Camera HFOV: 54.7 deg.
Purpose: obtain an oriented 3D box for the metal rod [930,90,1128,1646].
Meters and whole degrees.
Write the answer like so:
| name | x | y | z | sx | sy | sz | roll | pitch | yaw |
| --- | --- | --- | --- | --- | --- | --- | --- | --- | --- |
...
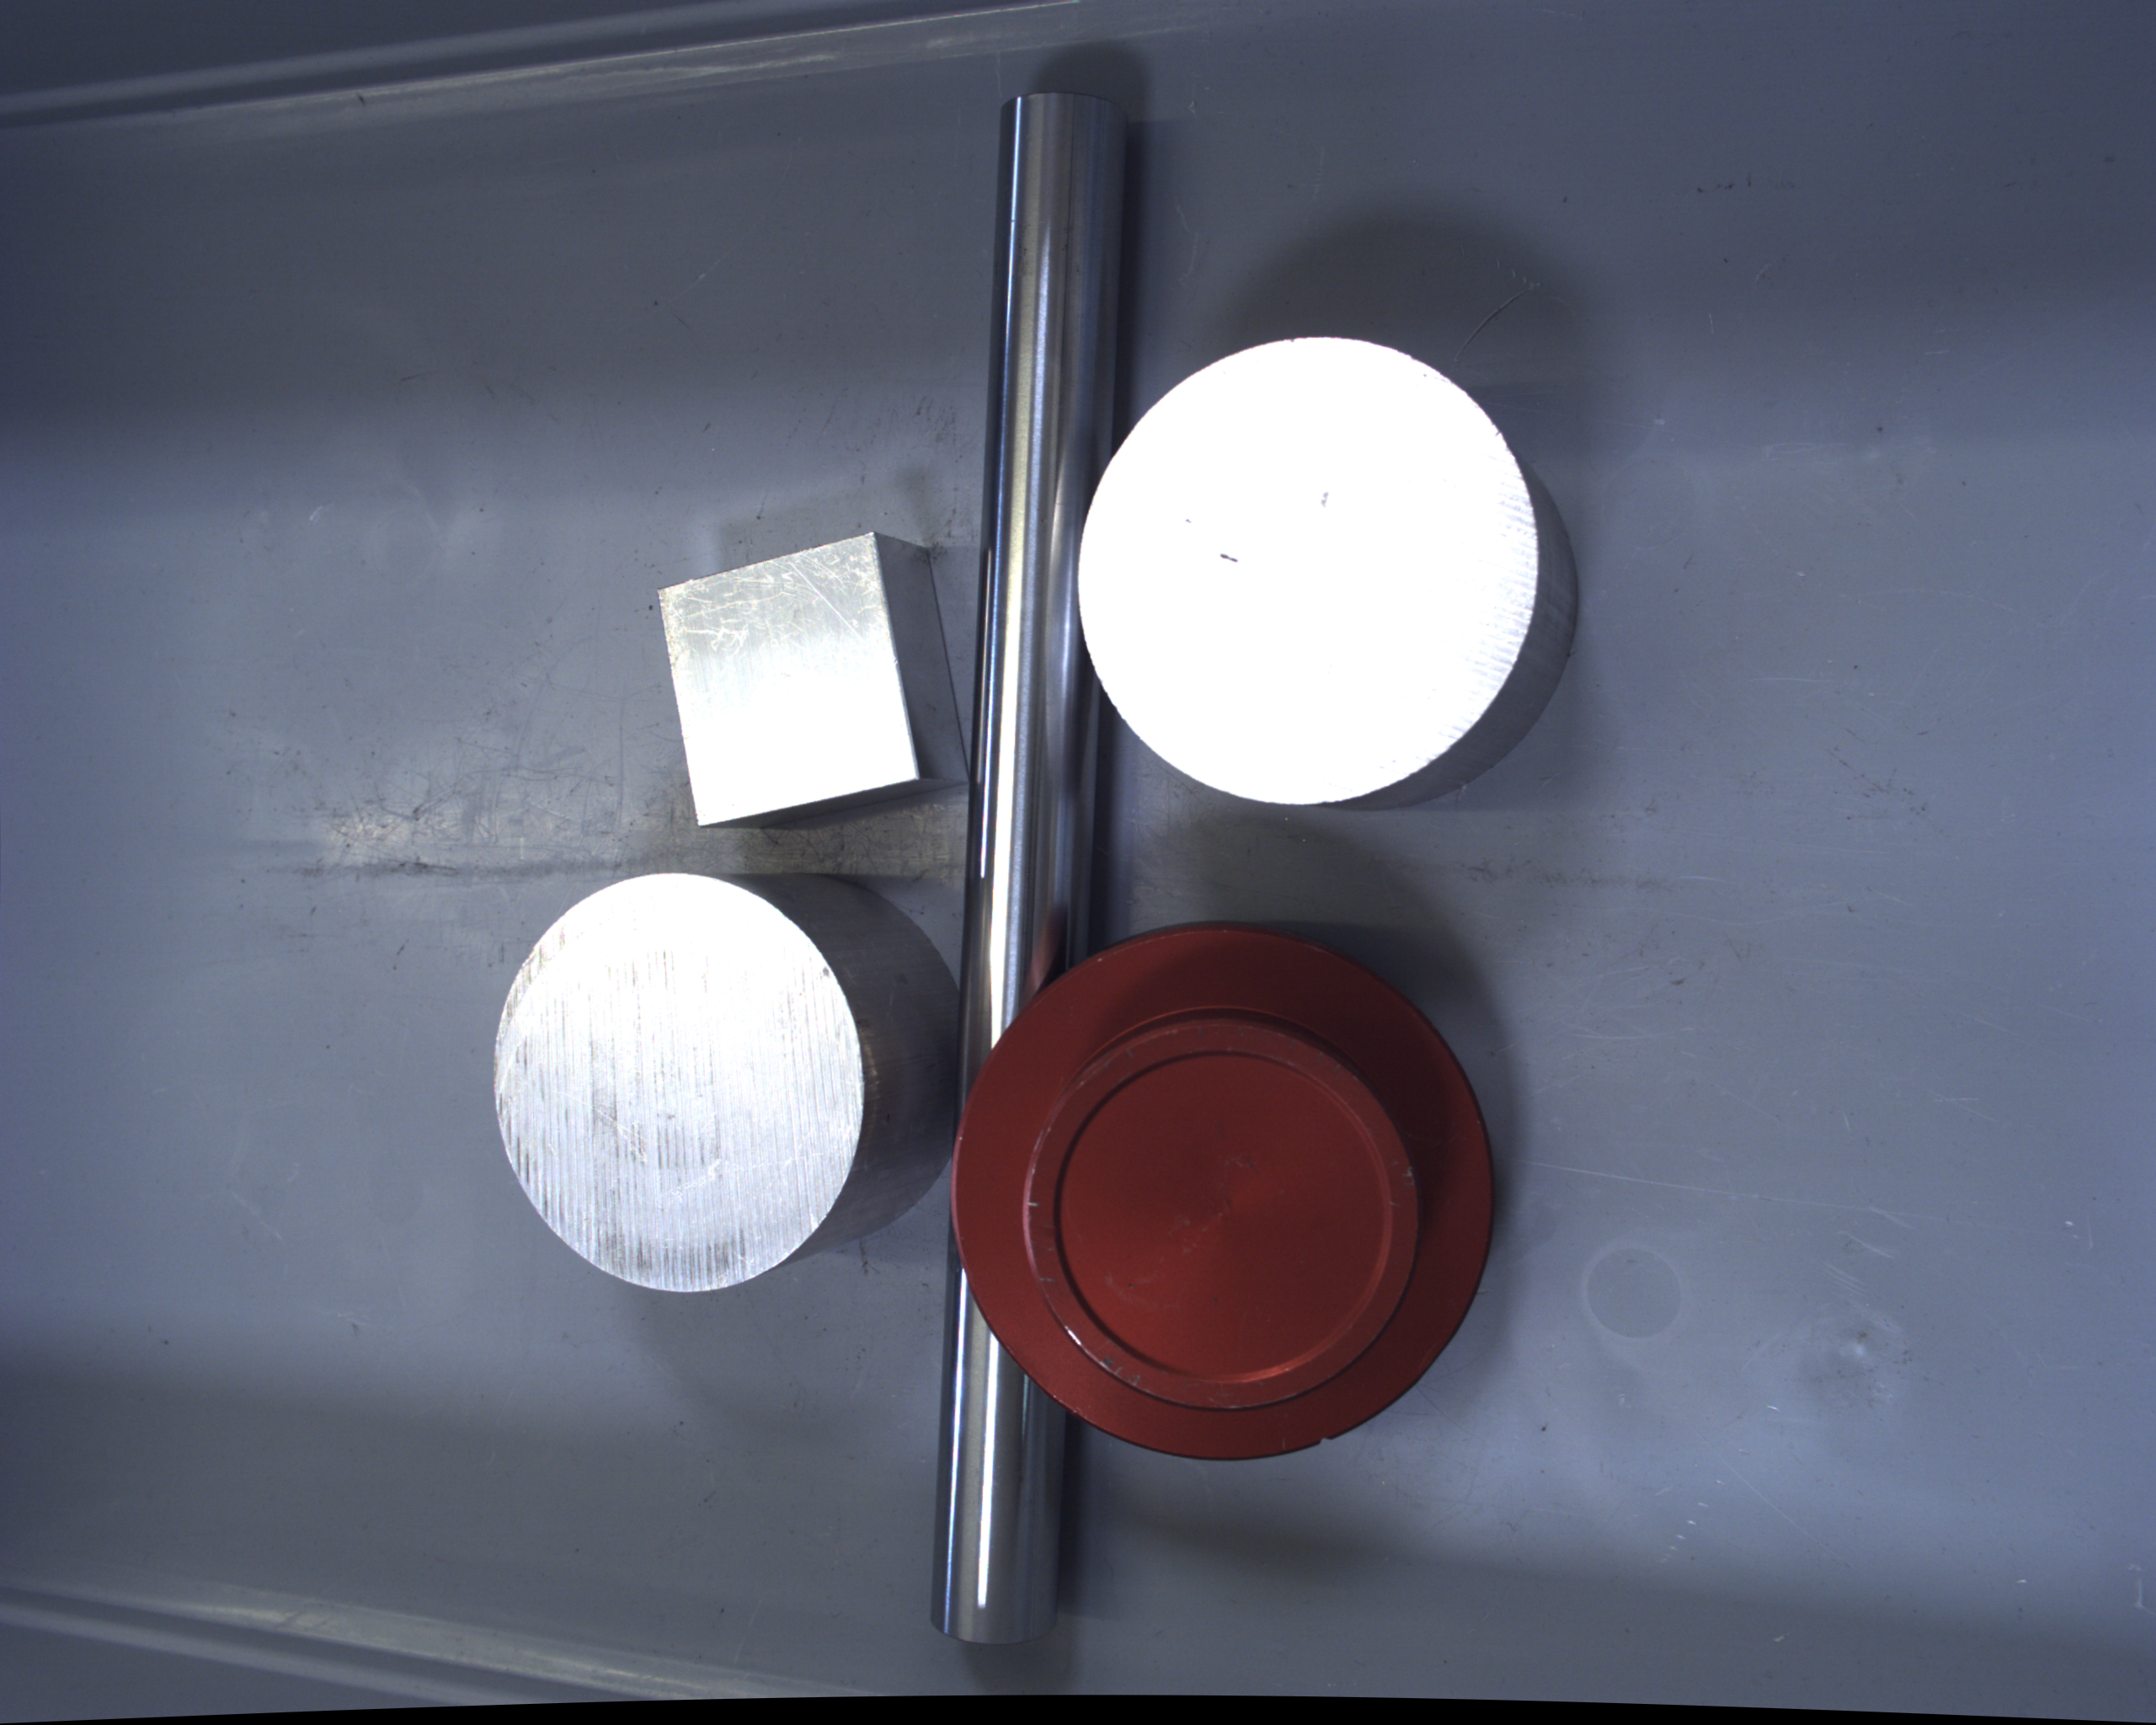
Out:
| name | x | y | z | sx | sy | sz | roll | pitch | yaw |
| --- | --- | --- | --- | --- | --- | --- | --- | --- | --- |
| metal rod | -0.010 | 0.002 | 0.412 | 0.025 | 0.025 | 0.298 | 3 | 91 | 20 |

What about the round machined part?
| name | x | y | z | sx | sy | sz | roll | pitch | yaw |
| --- | --- | --- | --- | --- | --- | --- | --- | --- | --- |
| round machined part | 0.026 | 0.060 | 0.377 | 0.099 | 0.042 | 0.097 | 0 | 89 | 3 |

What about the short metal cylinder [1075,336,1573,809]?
| name | x | y | z | sx | sy | sz | roll | pitch | yaw |
| --- | --- | --- | --- | --- | --- | --- | --- | --- | --- |
| short metal cylinder | 0.046 | -0.050 | 0.378 | 0.080 | 0.050 | 0.079 | 0 | 90 | 20 |

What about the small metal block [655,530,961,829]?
| name | x | y | z | sx | sy | sz | roll | pitch | yaw |
| --- | --- | --- | --- | --- | --- | --- | --- | --- | --- |
| small metal block | -0.054 | -0.036 | 0.427 | 0.050 | 0.025 | 0.050 | -12 | 86 | 19 |

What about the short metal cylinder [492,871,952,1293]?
| name | x | y | z | sx | sy | sz | roll | pitch | yaw |
| --- | --- | --- | --- | --- | --- | --- | --- | --- | --- |
| short metal cylinder | -0.068 | 0.042 | 0.419 | 0.080 | 0.050 | 0.079 | 0 | 90 | 20 |
